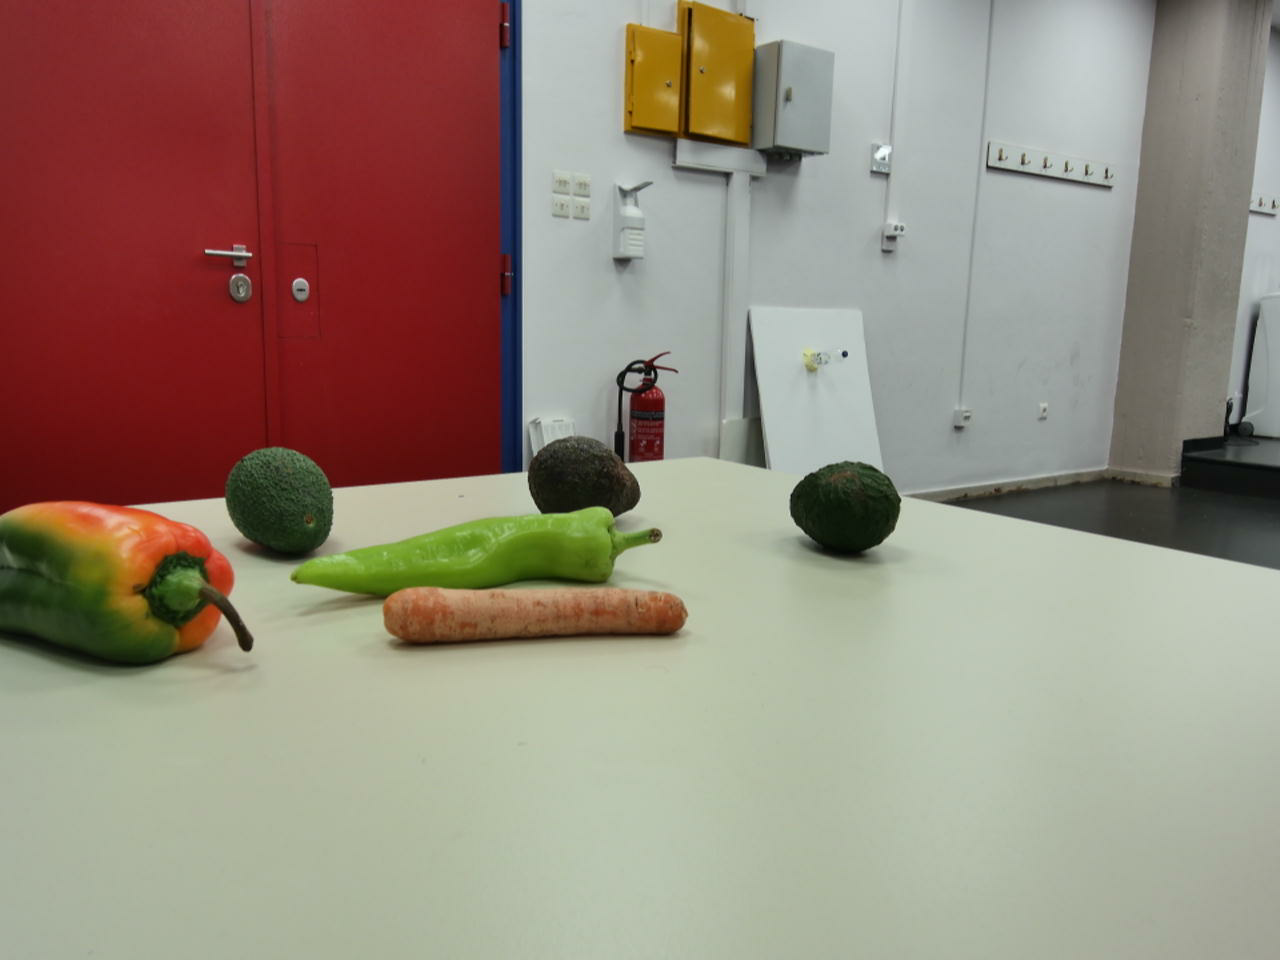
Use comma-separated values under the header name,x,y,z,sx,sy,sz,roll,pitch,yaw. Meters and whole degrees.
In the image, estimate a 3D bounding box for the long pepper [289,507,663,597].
name,x,y,z,sx,sy,sz,roll,pitch,yaw
long pepper,-0.091,0.042,0.580,0.204,0.045,0.065,-3,8,-20
